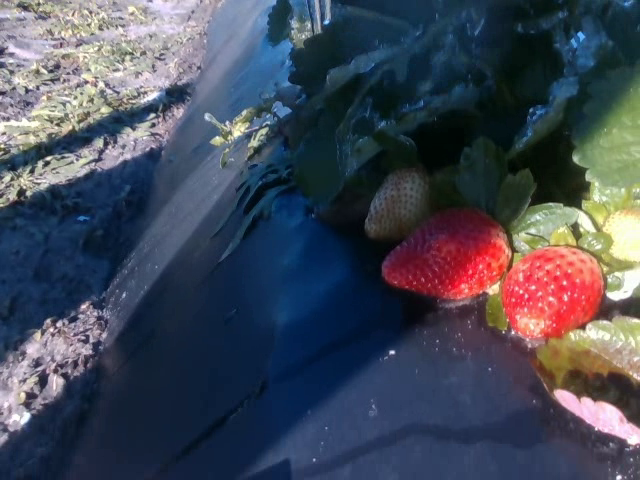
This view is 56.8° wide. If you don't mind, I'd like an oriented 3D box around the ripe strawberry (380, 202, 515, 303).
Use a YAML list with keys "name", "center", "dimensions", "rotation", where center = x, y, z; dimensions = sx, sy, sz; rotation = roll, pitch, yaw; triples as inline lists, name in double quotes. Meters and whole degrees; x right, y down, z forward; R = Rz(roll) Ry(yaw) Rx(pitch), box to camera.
- name: "ripe strawberry"
  center: [0.041, 0.008, 0.212]
  dimensions: [0.051, 0.040, 0.036]
  rotation: [-12, 15, -33]

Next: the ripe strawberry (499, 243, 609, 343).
- name: "ripe strawberry"
  center: [0.076, 0.019, 0.194]
  dimensions: [0.036, 0.030, 0.041]
  rotation: [-13, 34, 38]
